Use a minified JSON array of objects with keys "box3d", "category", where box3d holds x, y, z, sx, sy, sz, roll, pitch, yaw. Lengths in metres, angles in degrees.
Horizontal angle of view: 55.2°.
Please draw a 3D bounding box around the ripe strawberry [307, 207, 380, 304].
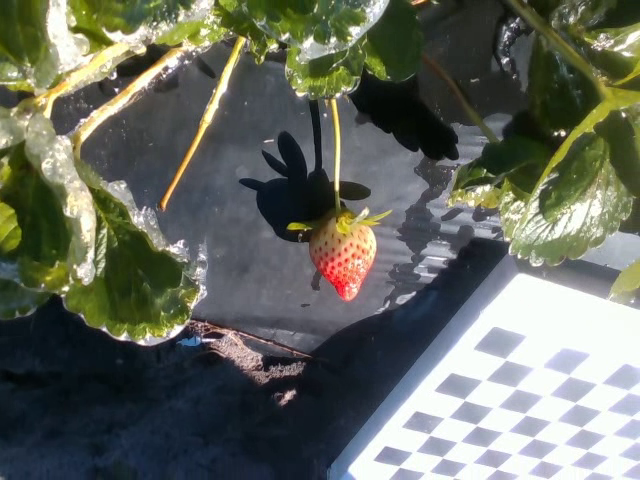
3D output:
[{"box3d":[0.014,0.009,0.308,0.039,0.053,0.041,0,24,0],"category":"ripe strawberry"}]
